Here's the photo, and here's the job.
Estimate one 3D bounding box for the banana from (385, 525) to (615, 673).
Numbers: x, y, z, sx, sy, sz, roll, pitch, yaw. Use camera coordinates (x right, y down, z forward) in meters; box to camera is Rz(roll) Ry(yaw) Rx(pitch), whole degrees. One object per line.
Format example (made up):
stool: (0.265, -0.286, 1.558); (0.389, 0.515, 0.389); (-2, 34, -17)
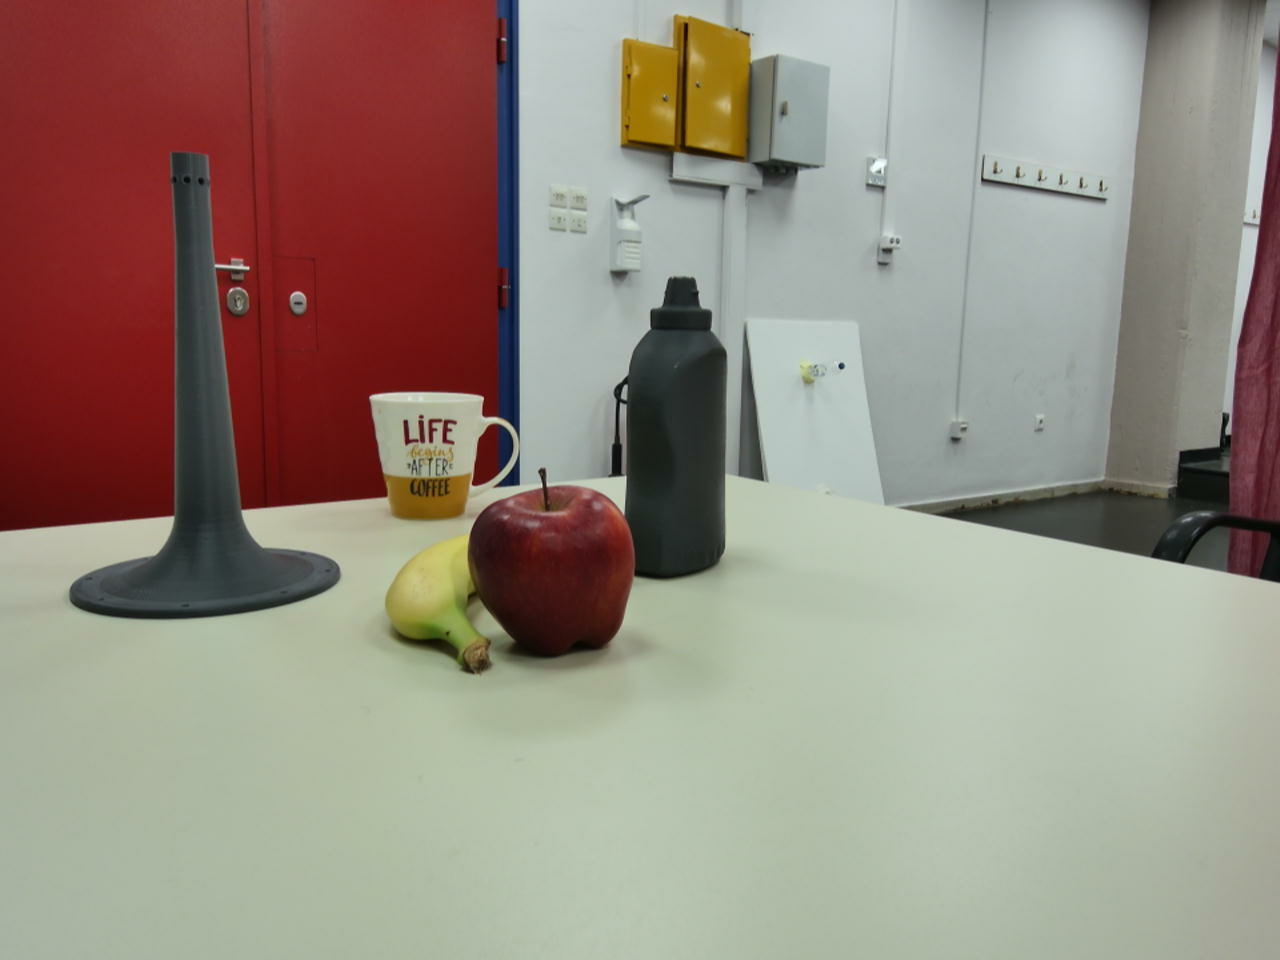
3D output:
banana: (-0.087, 0.056, 0.565); (0.094, 0.041, 0.196); (3, 7, 18)
